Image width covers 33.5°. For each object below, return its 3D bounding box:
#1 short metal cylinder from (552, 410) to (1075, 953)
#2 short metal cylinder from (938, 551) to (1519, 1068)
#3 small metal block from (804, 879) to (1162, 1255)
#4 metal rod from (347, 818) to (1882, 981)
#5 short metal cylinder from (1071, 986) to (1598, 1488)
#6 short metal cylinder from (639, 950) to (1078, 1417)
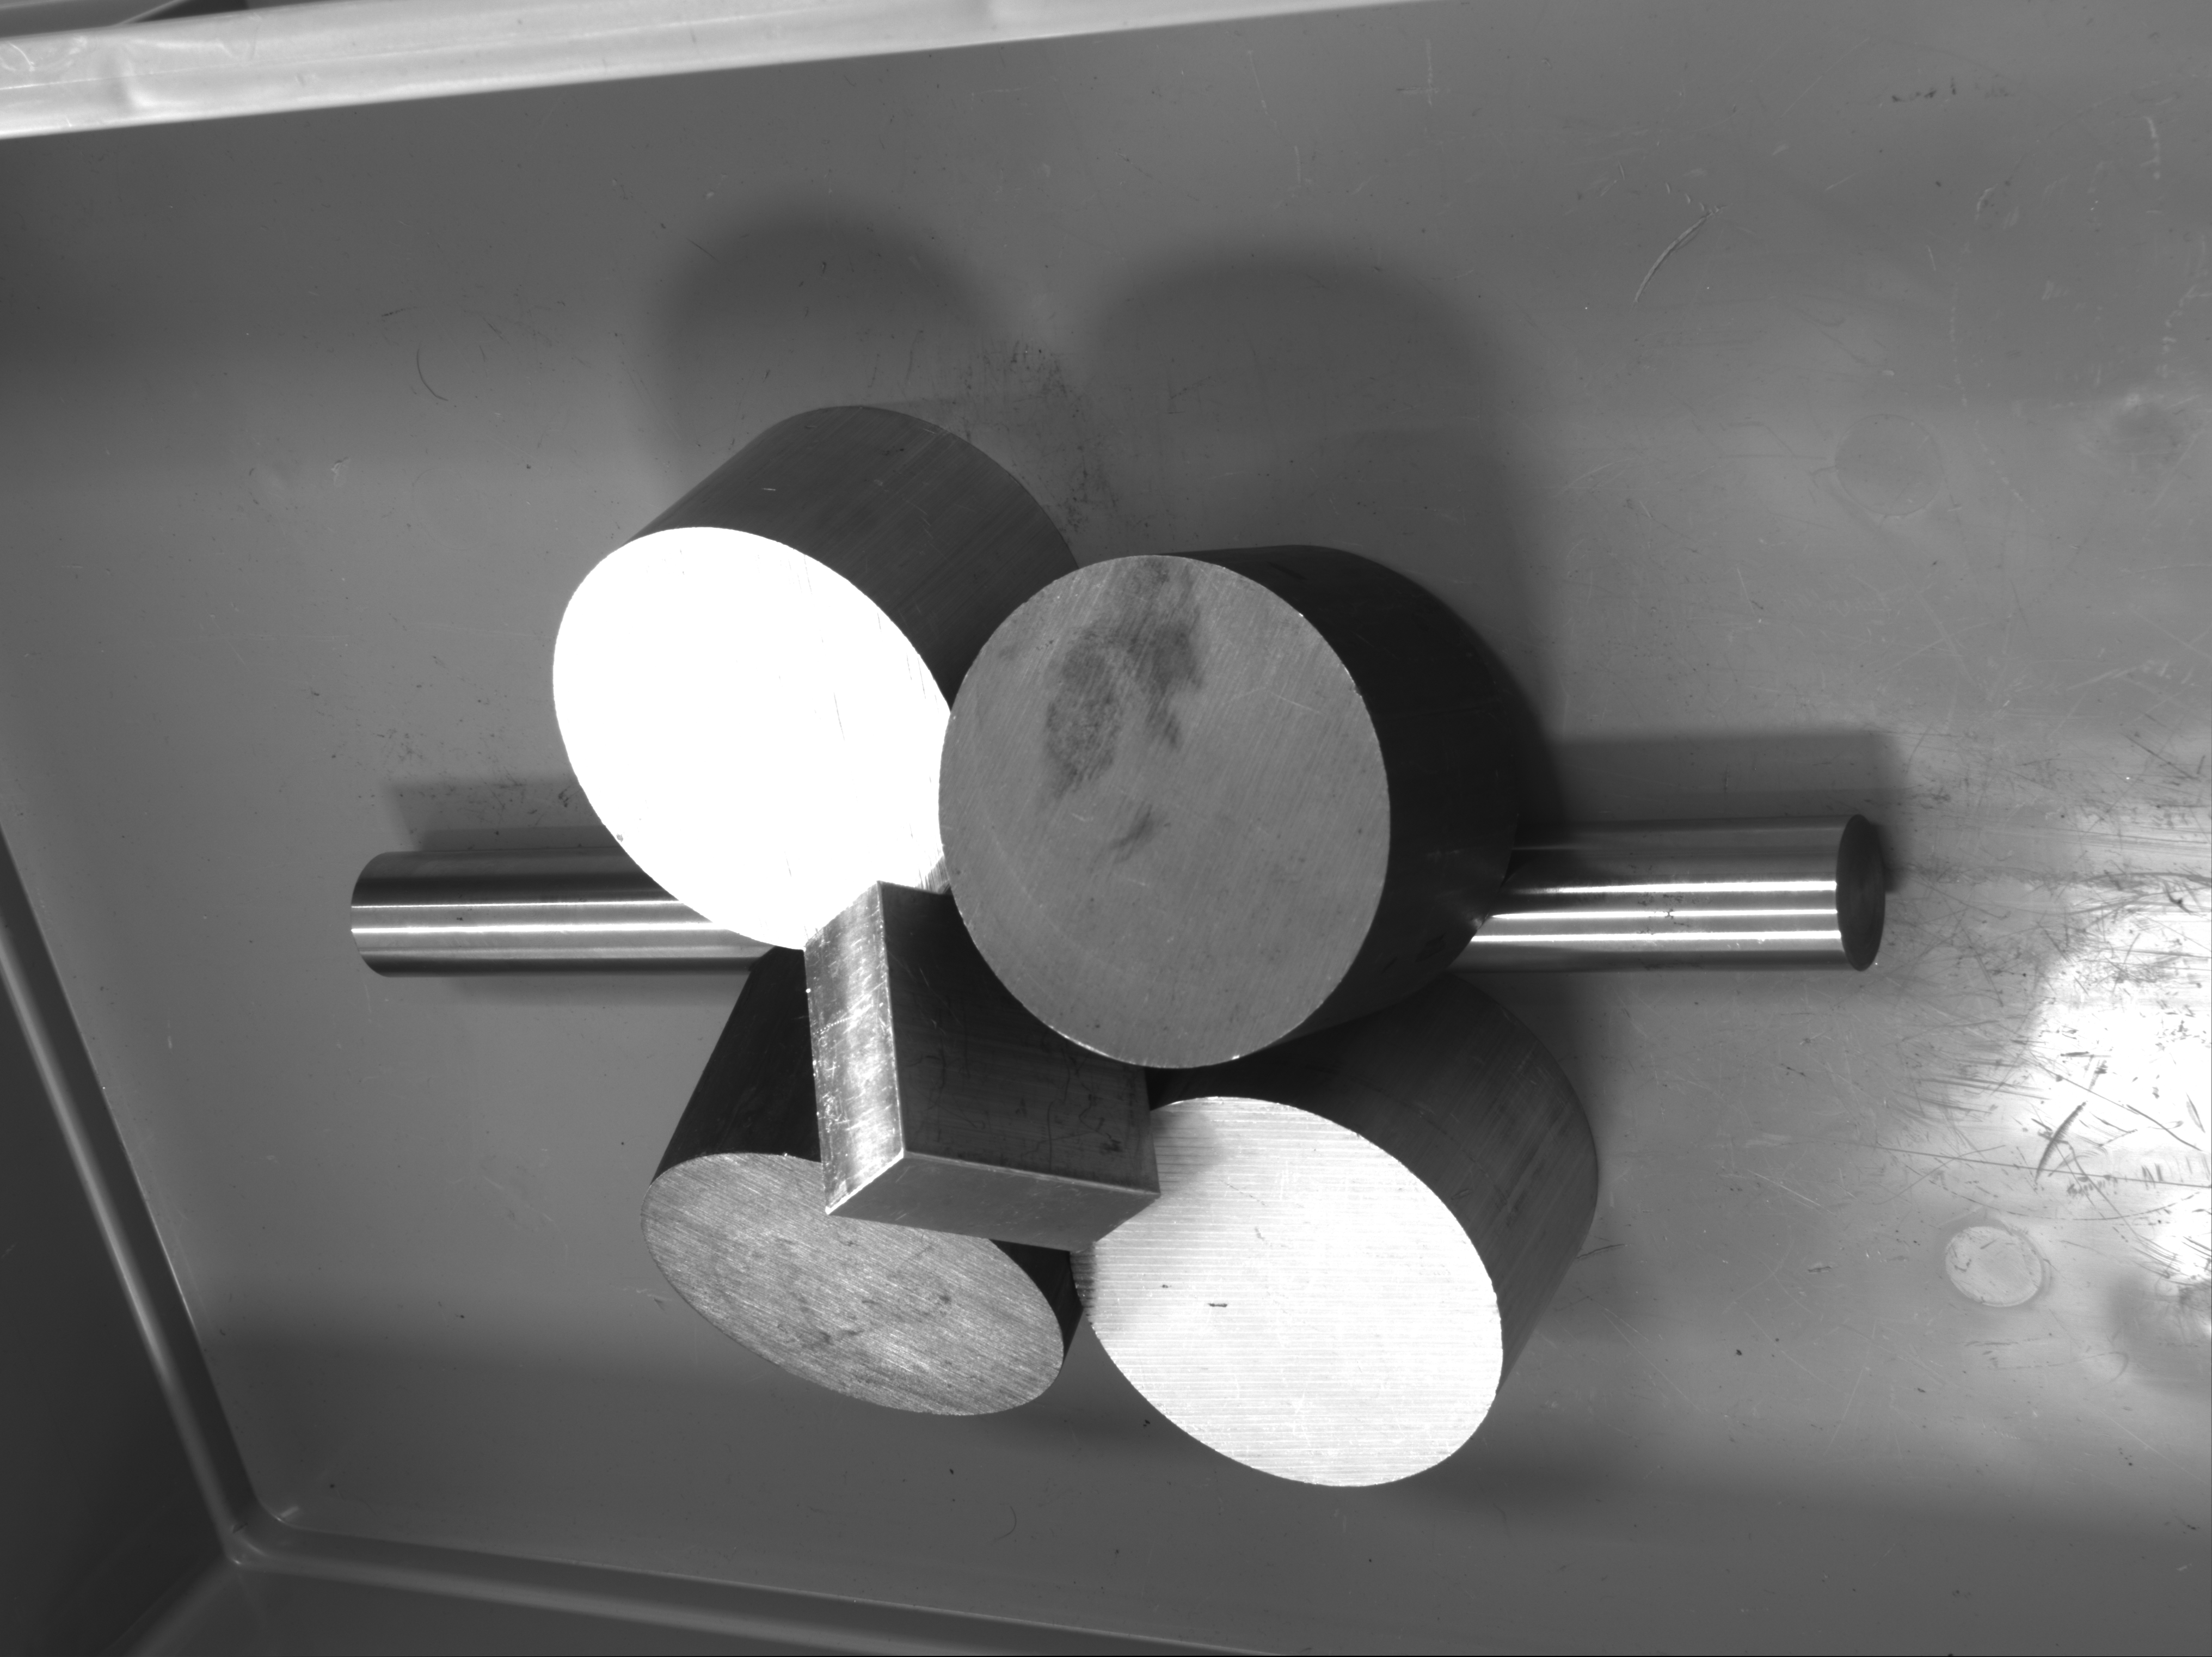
[{"bbox_3d":[-0.048,-0.025,0.635,0.080,0.050,0.080,13,124,21],"label":"short metal cylinder"},{"bbox_3d":[0.020,-0.004,0.595,0.080,0.050,0.080,3,96,29],"label":"short metal cylinder"},{"bbox_3d":[-0.021,0.040,0.615,0.050,0.050,0.025,13,146,-32],"label":"small metal block"},{"bbox_3d":[-0.011,0.014,0.656,0.299,0.025,0.025,-2,118,29],"label":"metal rod"},{"bbox_3d":[0.040,0.068,0.645,0.080,0.050,0.080,13,124,21],"label":"short metal cylinder"},{"bbox_3d":[-0.038,0.064,0.669,0.080,0.050,0.080,14,143,11],"label":"short metal cylinder"}]
